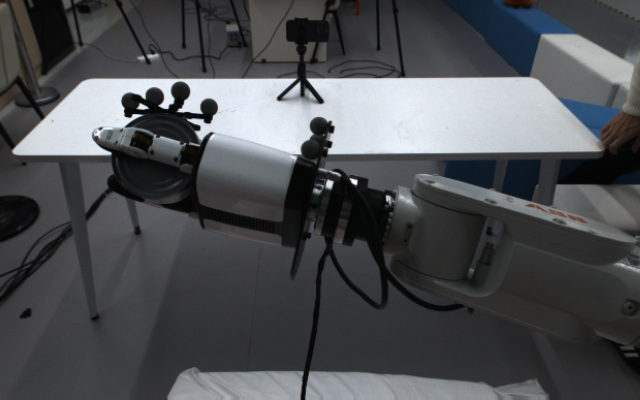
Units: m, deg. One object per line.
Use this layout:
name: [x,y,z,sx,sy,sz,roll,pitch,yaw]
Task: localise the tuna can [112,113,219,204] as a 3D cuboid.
tuna can: [-0.155,-0.040,0.478,0.085,0.034,0.085,0,77,-1]
